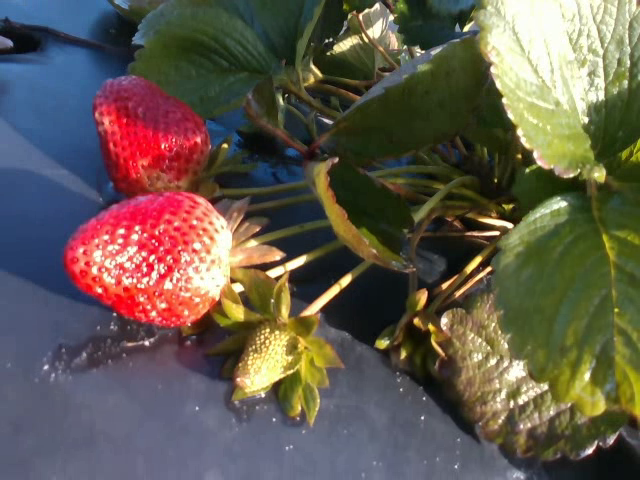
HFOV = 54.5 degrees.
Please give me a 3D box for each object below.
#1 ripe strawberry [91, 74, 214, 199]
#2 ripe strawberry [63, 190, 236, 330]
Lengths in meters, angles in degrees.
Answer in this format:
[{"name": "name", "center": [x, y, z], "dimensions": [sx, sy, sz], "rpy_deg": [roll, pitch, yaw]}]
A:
[{"name": "ripe strawberry", "center": [-0.062, -0.037, 0.226], "dimensions": [0.048, 0.054, 0.039], "rpy_deg": [-51, 16, -27]}, {"name": "ripe strawberry", "center": [-0.047, 0.003, 0.170], "dimensions": [0.038, 0.043, 0.053], "rpy_deg": [-39, -21, 27]}]
